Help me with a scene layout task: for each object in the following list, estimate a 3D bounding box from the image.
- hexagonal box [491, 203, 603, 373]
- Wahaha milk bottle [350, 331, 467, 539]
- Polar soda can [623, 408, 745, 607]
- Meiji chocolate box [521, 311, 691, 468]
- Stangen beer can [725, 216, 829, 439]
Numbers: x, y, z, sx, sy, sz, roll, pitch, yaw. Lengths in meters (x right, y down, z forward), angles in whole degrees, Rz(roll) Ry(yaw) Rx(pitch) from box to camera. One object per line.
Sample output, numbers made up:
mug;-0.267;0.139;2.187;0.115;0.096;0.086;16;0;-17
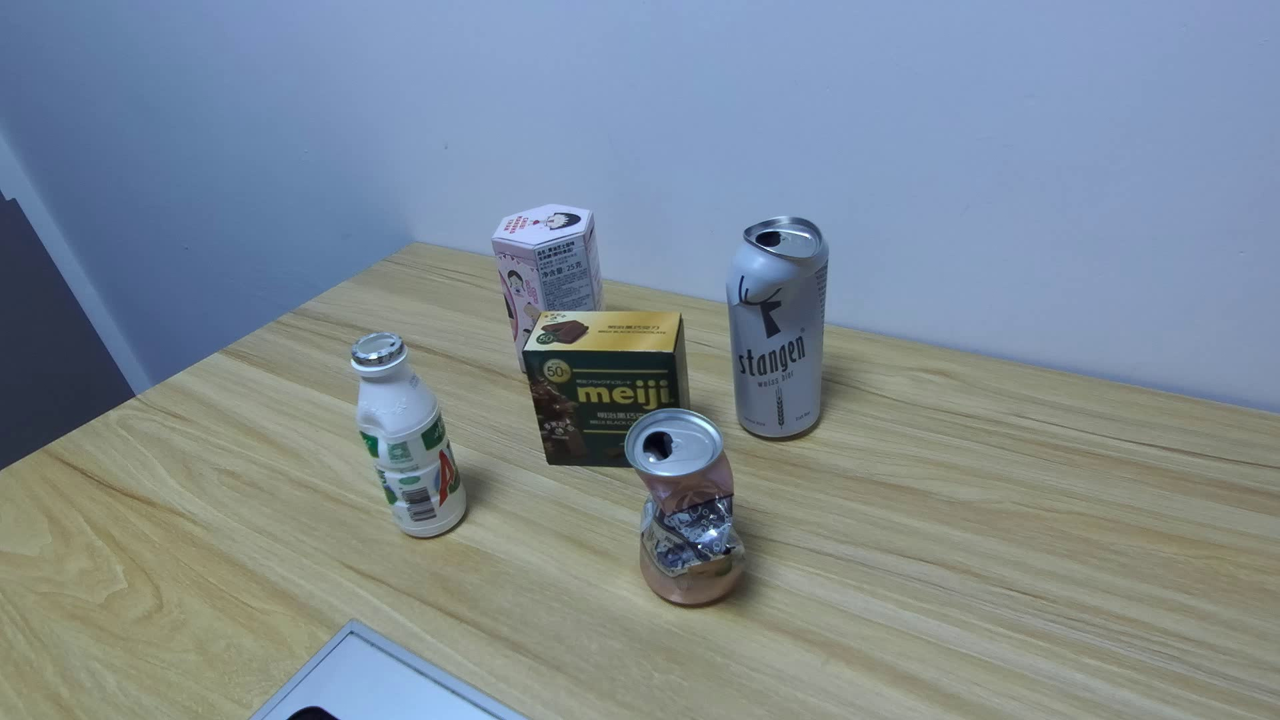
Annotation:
hexagonal box;-0.076;-0.058;0.626;0.084;0.136;0.091;-3;33;5
Wahaha milk bottle;-0.155;0.056;0.472;0.053;0.137;0.053;-4;34;3
Polar soda can;0.028;0.088;0.417;0.074;0.114;0.070;6;42;24
Meiji chocolate box;-0.020;0.024;0.523;0.110;0.109;0.056;1;34;11
Stangen beer can;0.102;-0.020;0.517;0.065;0.162;0.077;3;35;16
